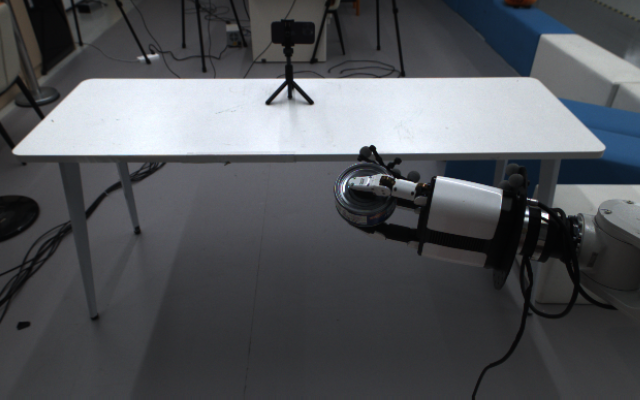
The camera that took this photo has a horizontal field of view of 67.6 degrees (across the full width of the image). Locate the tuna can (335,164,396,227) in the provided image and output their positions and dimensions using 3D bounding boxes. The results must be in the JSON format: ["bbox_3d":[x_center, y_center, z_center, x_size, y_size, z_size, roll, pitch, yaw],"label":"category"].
[{"bbox_3d":[0.066,-0.003,0.654,0.085,0.034,0.085,-4,58,6],"label":"tuna can"}]
